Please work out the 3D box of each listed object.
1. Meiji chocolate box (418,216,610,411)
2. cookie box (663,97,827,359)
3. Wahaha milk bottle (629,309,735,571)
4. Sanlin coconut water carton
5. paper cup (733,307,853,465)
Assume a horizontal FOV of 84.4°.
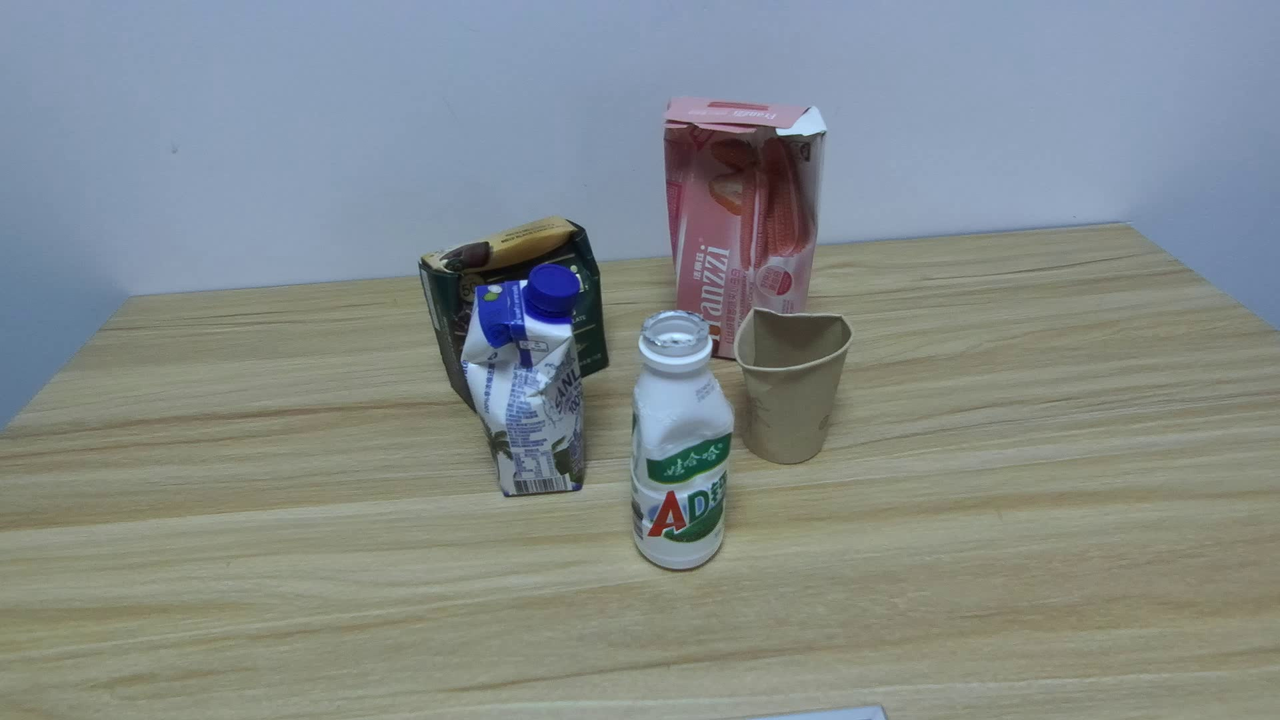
[{"bbox_3d":[-0.087,-0.033,0.513,0.113,0.111,0.058,-22,29,-27],"label":"Meiji chocolate box"},{"bbox_3d":[0.070,-0.085,0.504,0.118,0.184,0.055,11,38,20],"label":"cookie box"},{"bbox_3d":[0.019,0.043,0.366,0.055,0.149,0.055,-2,36,2],"label":"Wahaha milk bottle"},{"bbox_3d":[-0.065,0.013,0.418,0.070,0.144,0.060,-4,38,-3],"label":"Sanlin coconut water carton"},{"bbox_3d":[0.094,0.019,0.445,0.071,0.084,0.066,4,36,11],"label":"paper cup"}]
